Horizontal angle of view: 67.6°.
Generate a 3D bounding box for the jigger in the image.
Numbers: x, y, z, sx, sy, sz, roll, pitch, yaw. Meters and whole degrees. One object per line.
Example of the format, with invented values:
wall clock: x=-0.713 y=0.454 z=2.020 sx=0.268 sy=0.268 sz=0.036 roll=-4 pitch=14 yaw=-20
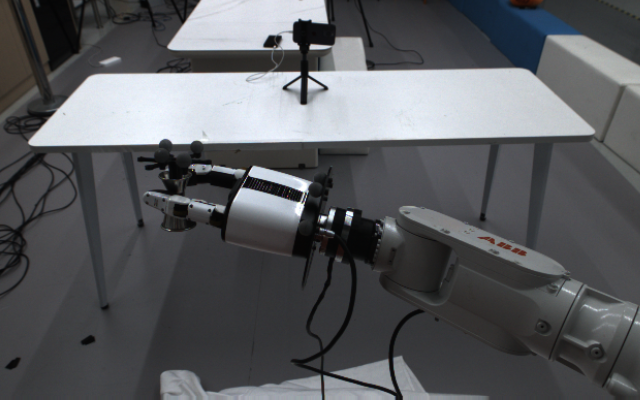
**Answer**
jigger: x=-0.179 y=-0.001 z=0.612 sx=0.043 sy=0.071 sz=0.043 roll=2 pitch=20 yaw=-1
